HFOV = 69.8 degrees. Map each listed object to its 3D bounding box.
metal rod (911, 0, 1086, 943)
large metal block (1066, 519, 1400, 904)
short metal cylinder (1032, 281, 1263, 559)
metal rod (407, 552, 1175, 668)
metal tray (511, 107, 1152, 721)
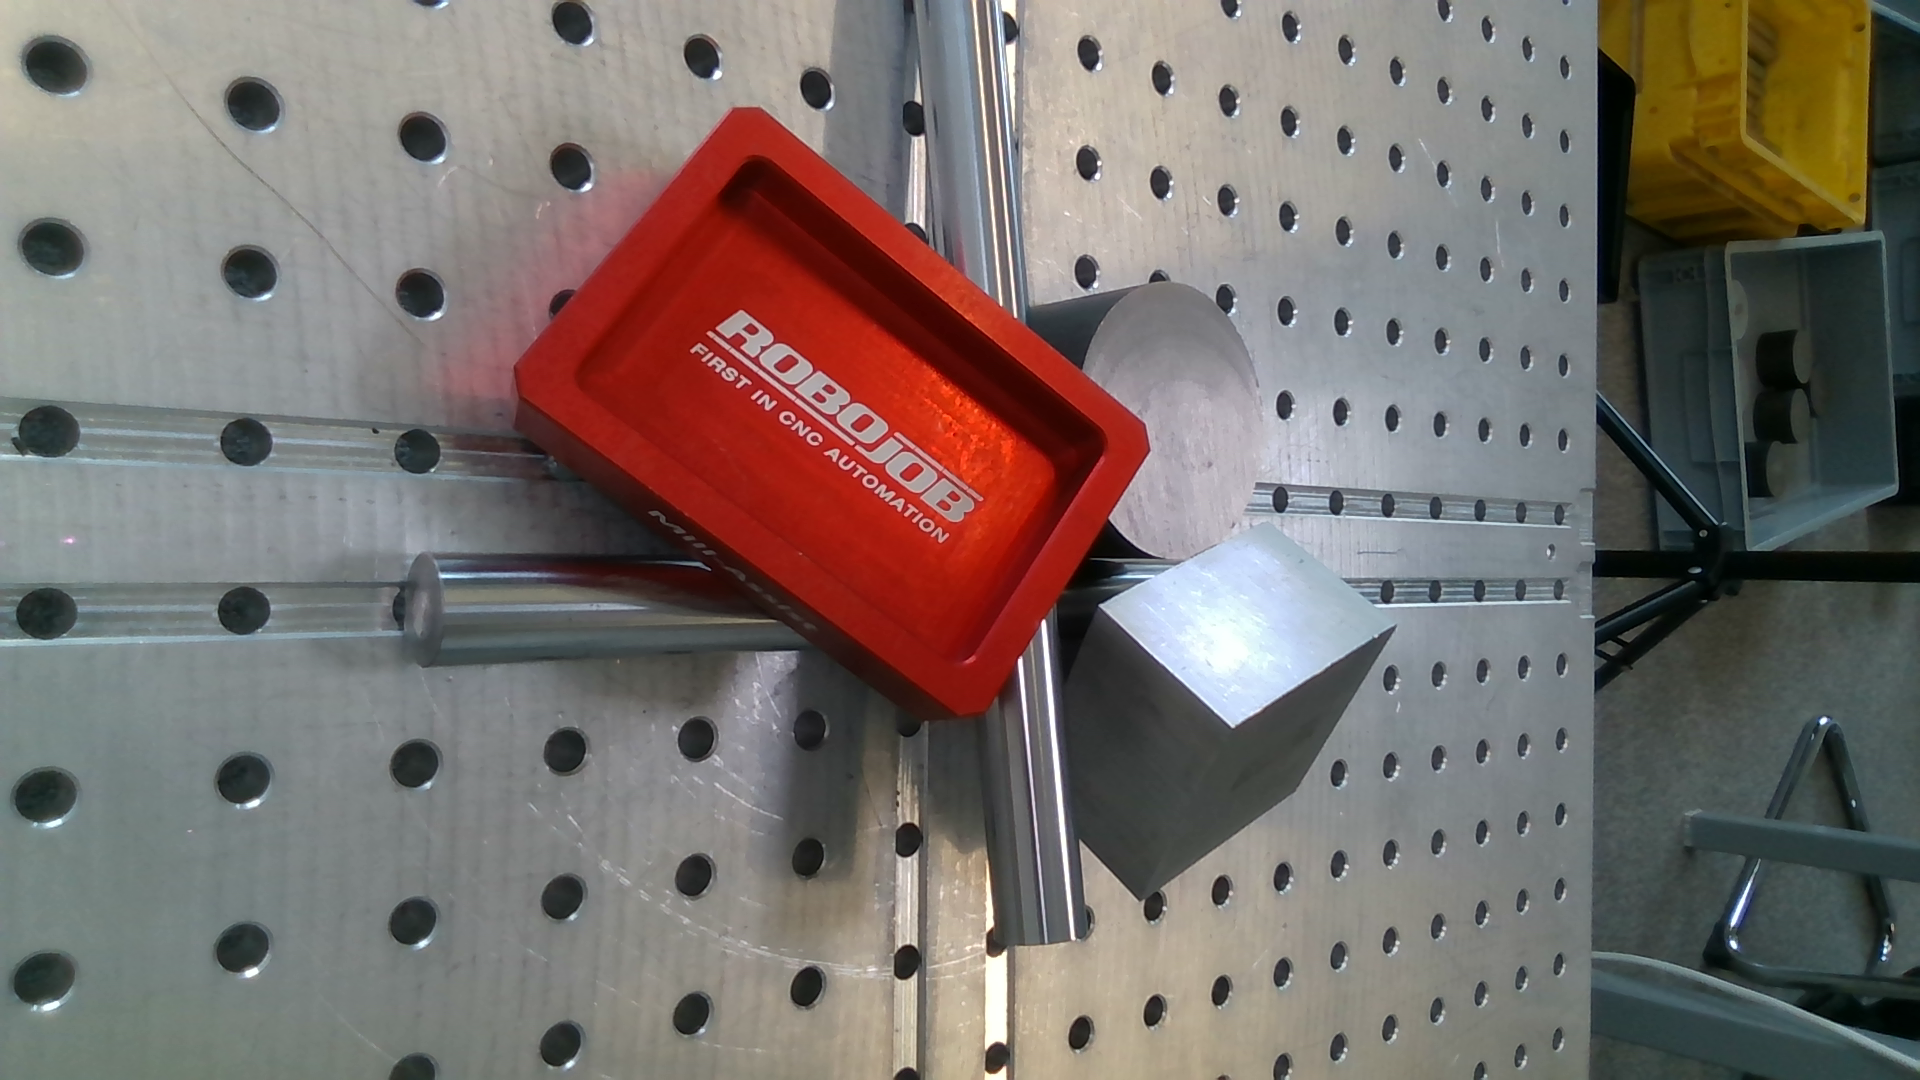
[{"bbox_3d":[0.008,-0.044,0.379,0.025,0.025,0.300,-1,83,-40],"label":"metal rod"},{"bbox_3d":[0.074,0.050,0.415,0.080,0.050,0.080,-23,144,-38],"label":"large metal block"},{"bbox_3d":[0.047,-0.035,0.417,0.080,0.050,0.080,0,90,-40],"label":"short metal cylinder"},{"bbox_3d":[0.000,0.017,0.394,0.300,0.025,0.025,1,89,-40],"label":"metal rod"},{"bbox_3d":[-0.028,-0.028,0.333,0.130,0.030,0.090,37,72,-11],"label":"metal tray"}]
